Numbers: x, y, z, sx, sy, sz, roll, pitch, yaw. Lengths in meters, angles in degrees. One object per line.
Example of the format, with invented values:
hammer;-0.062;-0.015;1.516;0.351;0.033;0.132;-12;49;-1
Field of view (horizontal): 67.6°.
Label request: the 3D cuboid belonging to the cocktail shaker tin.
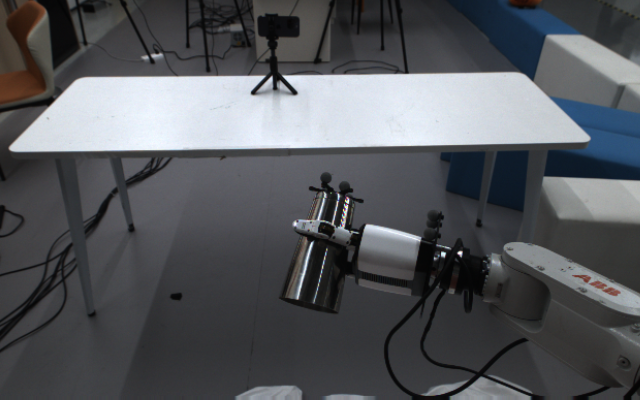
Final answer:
cocktail shaker tin;0.004;0.077;0.734;0.093;0.093;0.170;10;71;12
